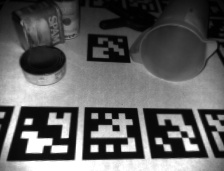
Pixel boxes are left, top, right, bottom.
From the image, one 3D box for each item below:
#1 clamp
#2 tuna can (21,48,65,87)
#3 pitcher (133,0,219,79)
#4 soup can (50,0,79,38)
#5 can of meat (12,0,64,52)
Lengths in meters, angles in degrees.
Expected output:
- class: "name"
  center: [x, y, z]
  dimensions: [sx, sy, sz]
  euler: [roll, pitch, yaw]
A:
- class: "clamp"
  center: [0.034, -0.192, 0.614]
  dimensions: [0.166, 0.036, 0.121]
  euler: [6, 48, -8]
- class: "tuna can"
  center: [-0.143, -0.039, 0.459]
  dimensions: [0.086, 0.034, 0.085]
  euler: [4, 54, -5]
- class: "pitcher"
  center: [0.155, -0.137, 0.514]
  dimensions: [0.187, 0.134, 0.243]
  euler: [4, 41, 24]
- class: "soup can"
  center: [-0.116, -0.176, 0.527]
  dimensions: [0.068, 0.102, 0.067]
  euler: [2, 54, -2]
- class: "can of meat"
  center: [-0.161, -0.126, 0.477]
  dimensions: [0.084, 0.102, 0.057]
  euler: [-31, 63, -23]
